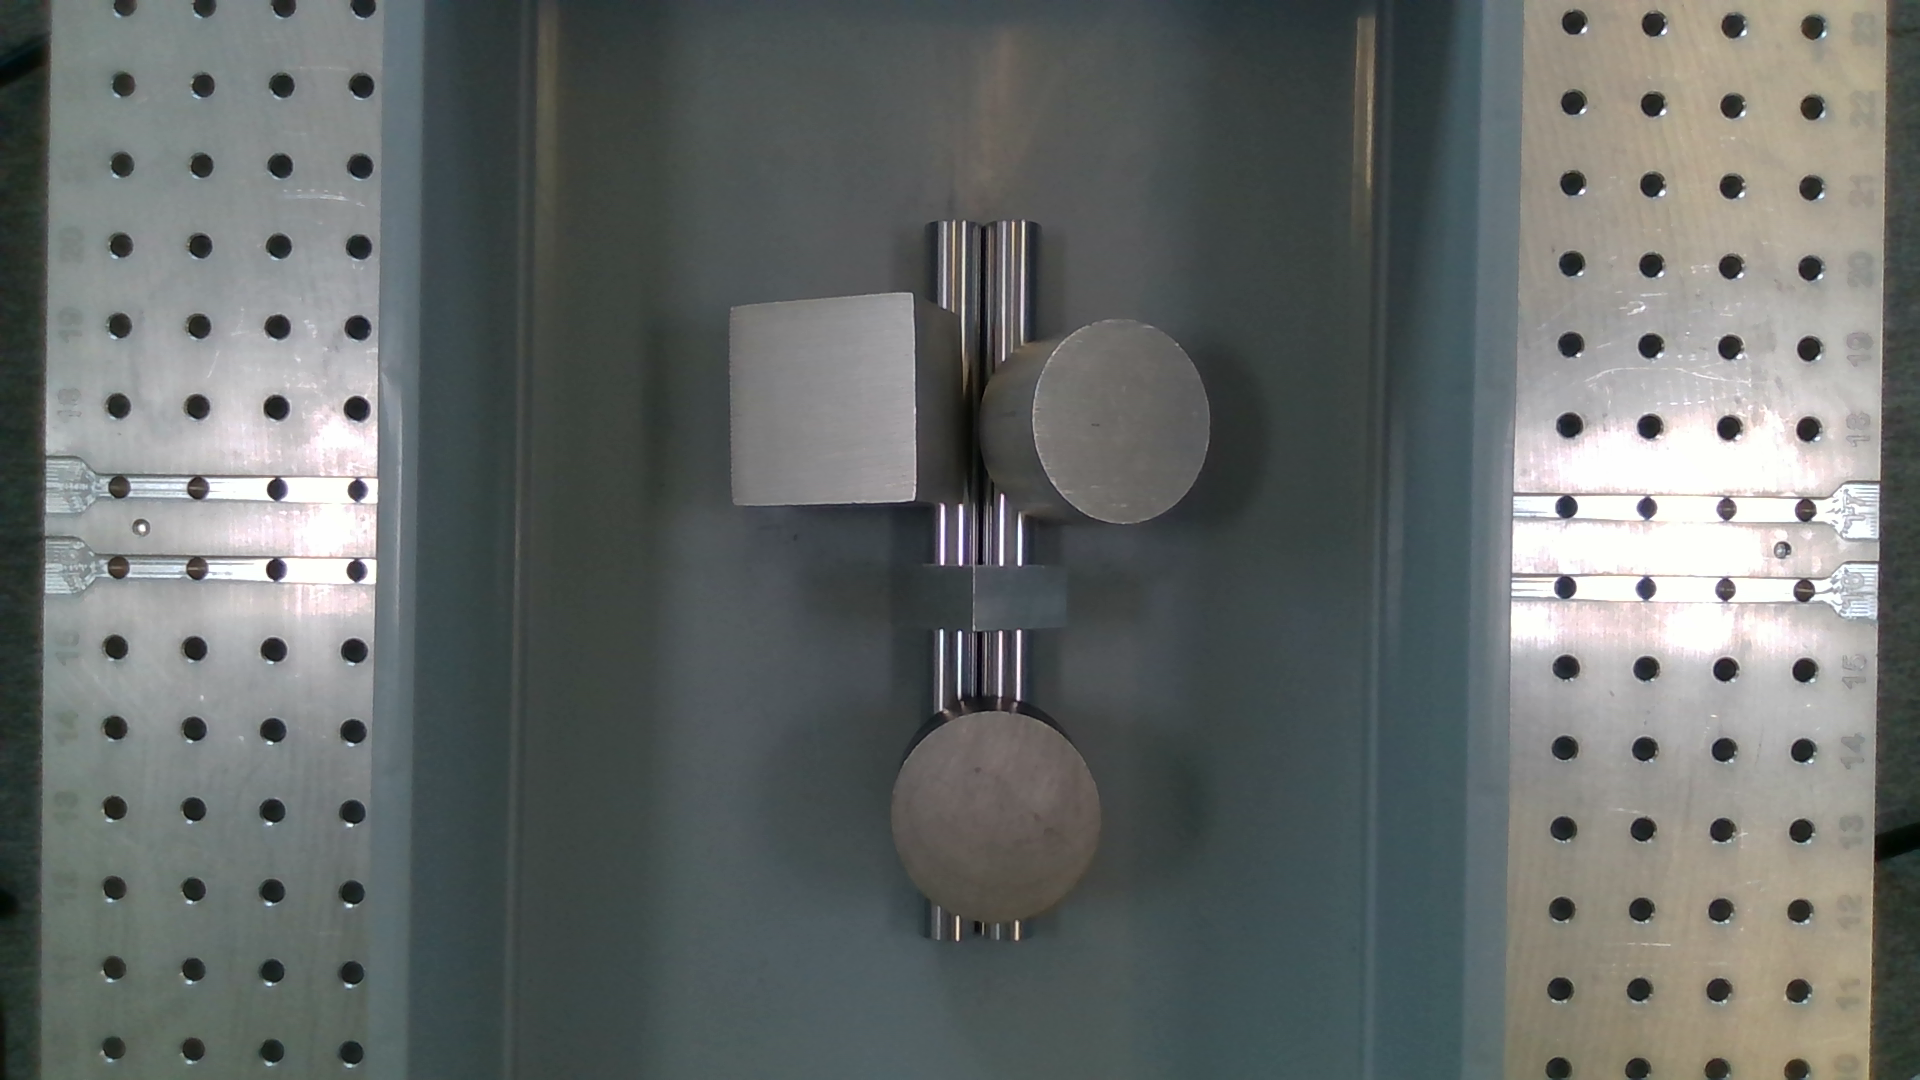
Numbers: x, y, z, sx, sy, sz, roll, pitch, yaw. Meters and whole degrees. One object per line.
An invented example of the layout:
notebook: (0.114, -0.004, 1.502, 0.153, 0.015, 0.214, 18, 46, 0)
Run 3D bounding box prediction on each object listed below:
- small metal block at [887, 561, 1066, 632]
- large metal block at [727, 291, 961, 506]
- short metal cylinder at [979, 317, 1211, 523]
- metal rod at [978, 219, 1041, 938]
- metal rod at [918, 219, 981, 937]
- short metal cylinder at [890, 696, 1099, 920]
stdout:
small metal block: (0.007, 0.021, 0.546, 0.050, 0.050, 0.025, 0, 91, -42)
large metal block: (-0.046, -0.054, 0.560, 0.080, 0.050, 0.080, -1, 91, 20)
short metal cylinder: (0.054, -0.047, 0.559, 0.080, 0.050, 0.080, 0, 91, -24)
metal rod: (0.021, 0.016, 0.587, 0.025, 0.025, 0.300, 1, 91, 0)
metal rod: (-0.004, 0.016, 0.587, 0.025, 0.025, 0.300, 1, 91, 0)
short metal cylinder: (0.013, 0.105, 0.550, 0.080, 0.050, 0.080, 0, 90, 0)
